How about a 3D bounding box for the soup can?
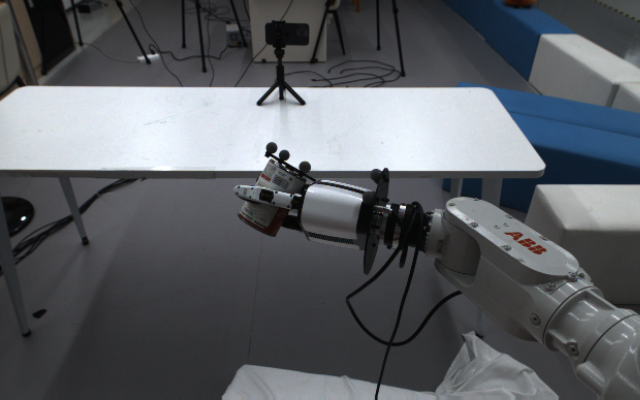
[{"bbox_3d":[-0.073,-0.002,0.745,0.067,0.101,0.067,30,2,-1],"label":"soup can"}]
